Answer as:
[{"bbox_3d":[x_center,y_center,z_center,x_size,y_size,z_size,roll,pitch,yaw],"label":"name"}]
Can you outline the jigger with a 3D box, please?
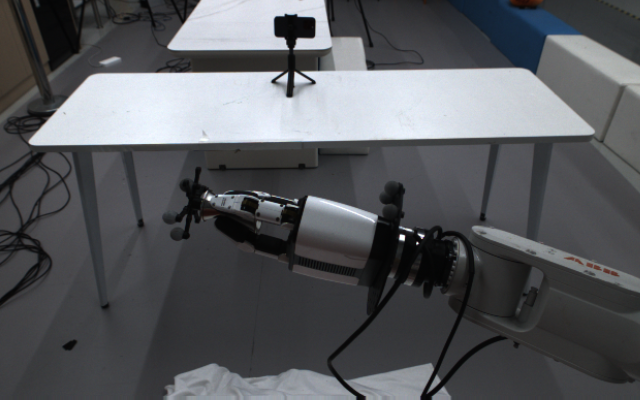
[{"bbox_3d":[-0.097,0.009,0.579,0.071,0.043,0.043,10,35,3],"label":"jigger"}]
